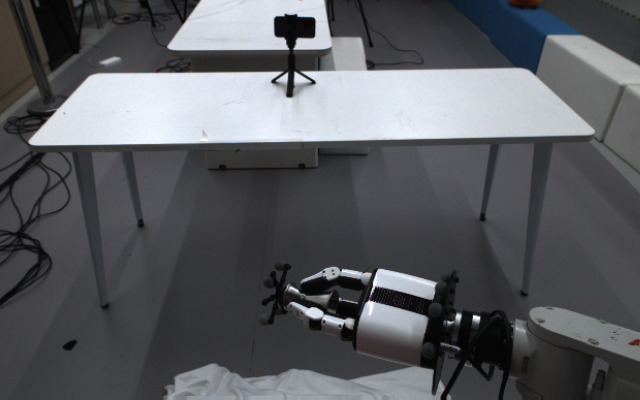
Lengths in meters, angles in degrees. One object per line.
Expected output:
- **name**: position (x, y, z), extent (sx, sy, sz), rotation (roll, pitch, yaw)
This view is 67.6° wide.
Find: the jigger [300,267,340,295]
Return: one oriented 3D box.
- **jigger**: position (-0.007, 0.138, 0.679), extent (0.071, 0.043, 0.043), rotation (8, 34, 23)
